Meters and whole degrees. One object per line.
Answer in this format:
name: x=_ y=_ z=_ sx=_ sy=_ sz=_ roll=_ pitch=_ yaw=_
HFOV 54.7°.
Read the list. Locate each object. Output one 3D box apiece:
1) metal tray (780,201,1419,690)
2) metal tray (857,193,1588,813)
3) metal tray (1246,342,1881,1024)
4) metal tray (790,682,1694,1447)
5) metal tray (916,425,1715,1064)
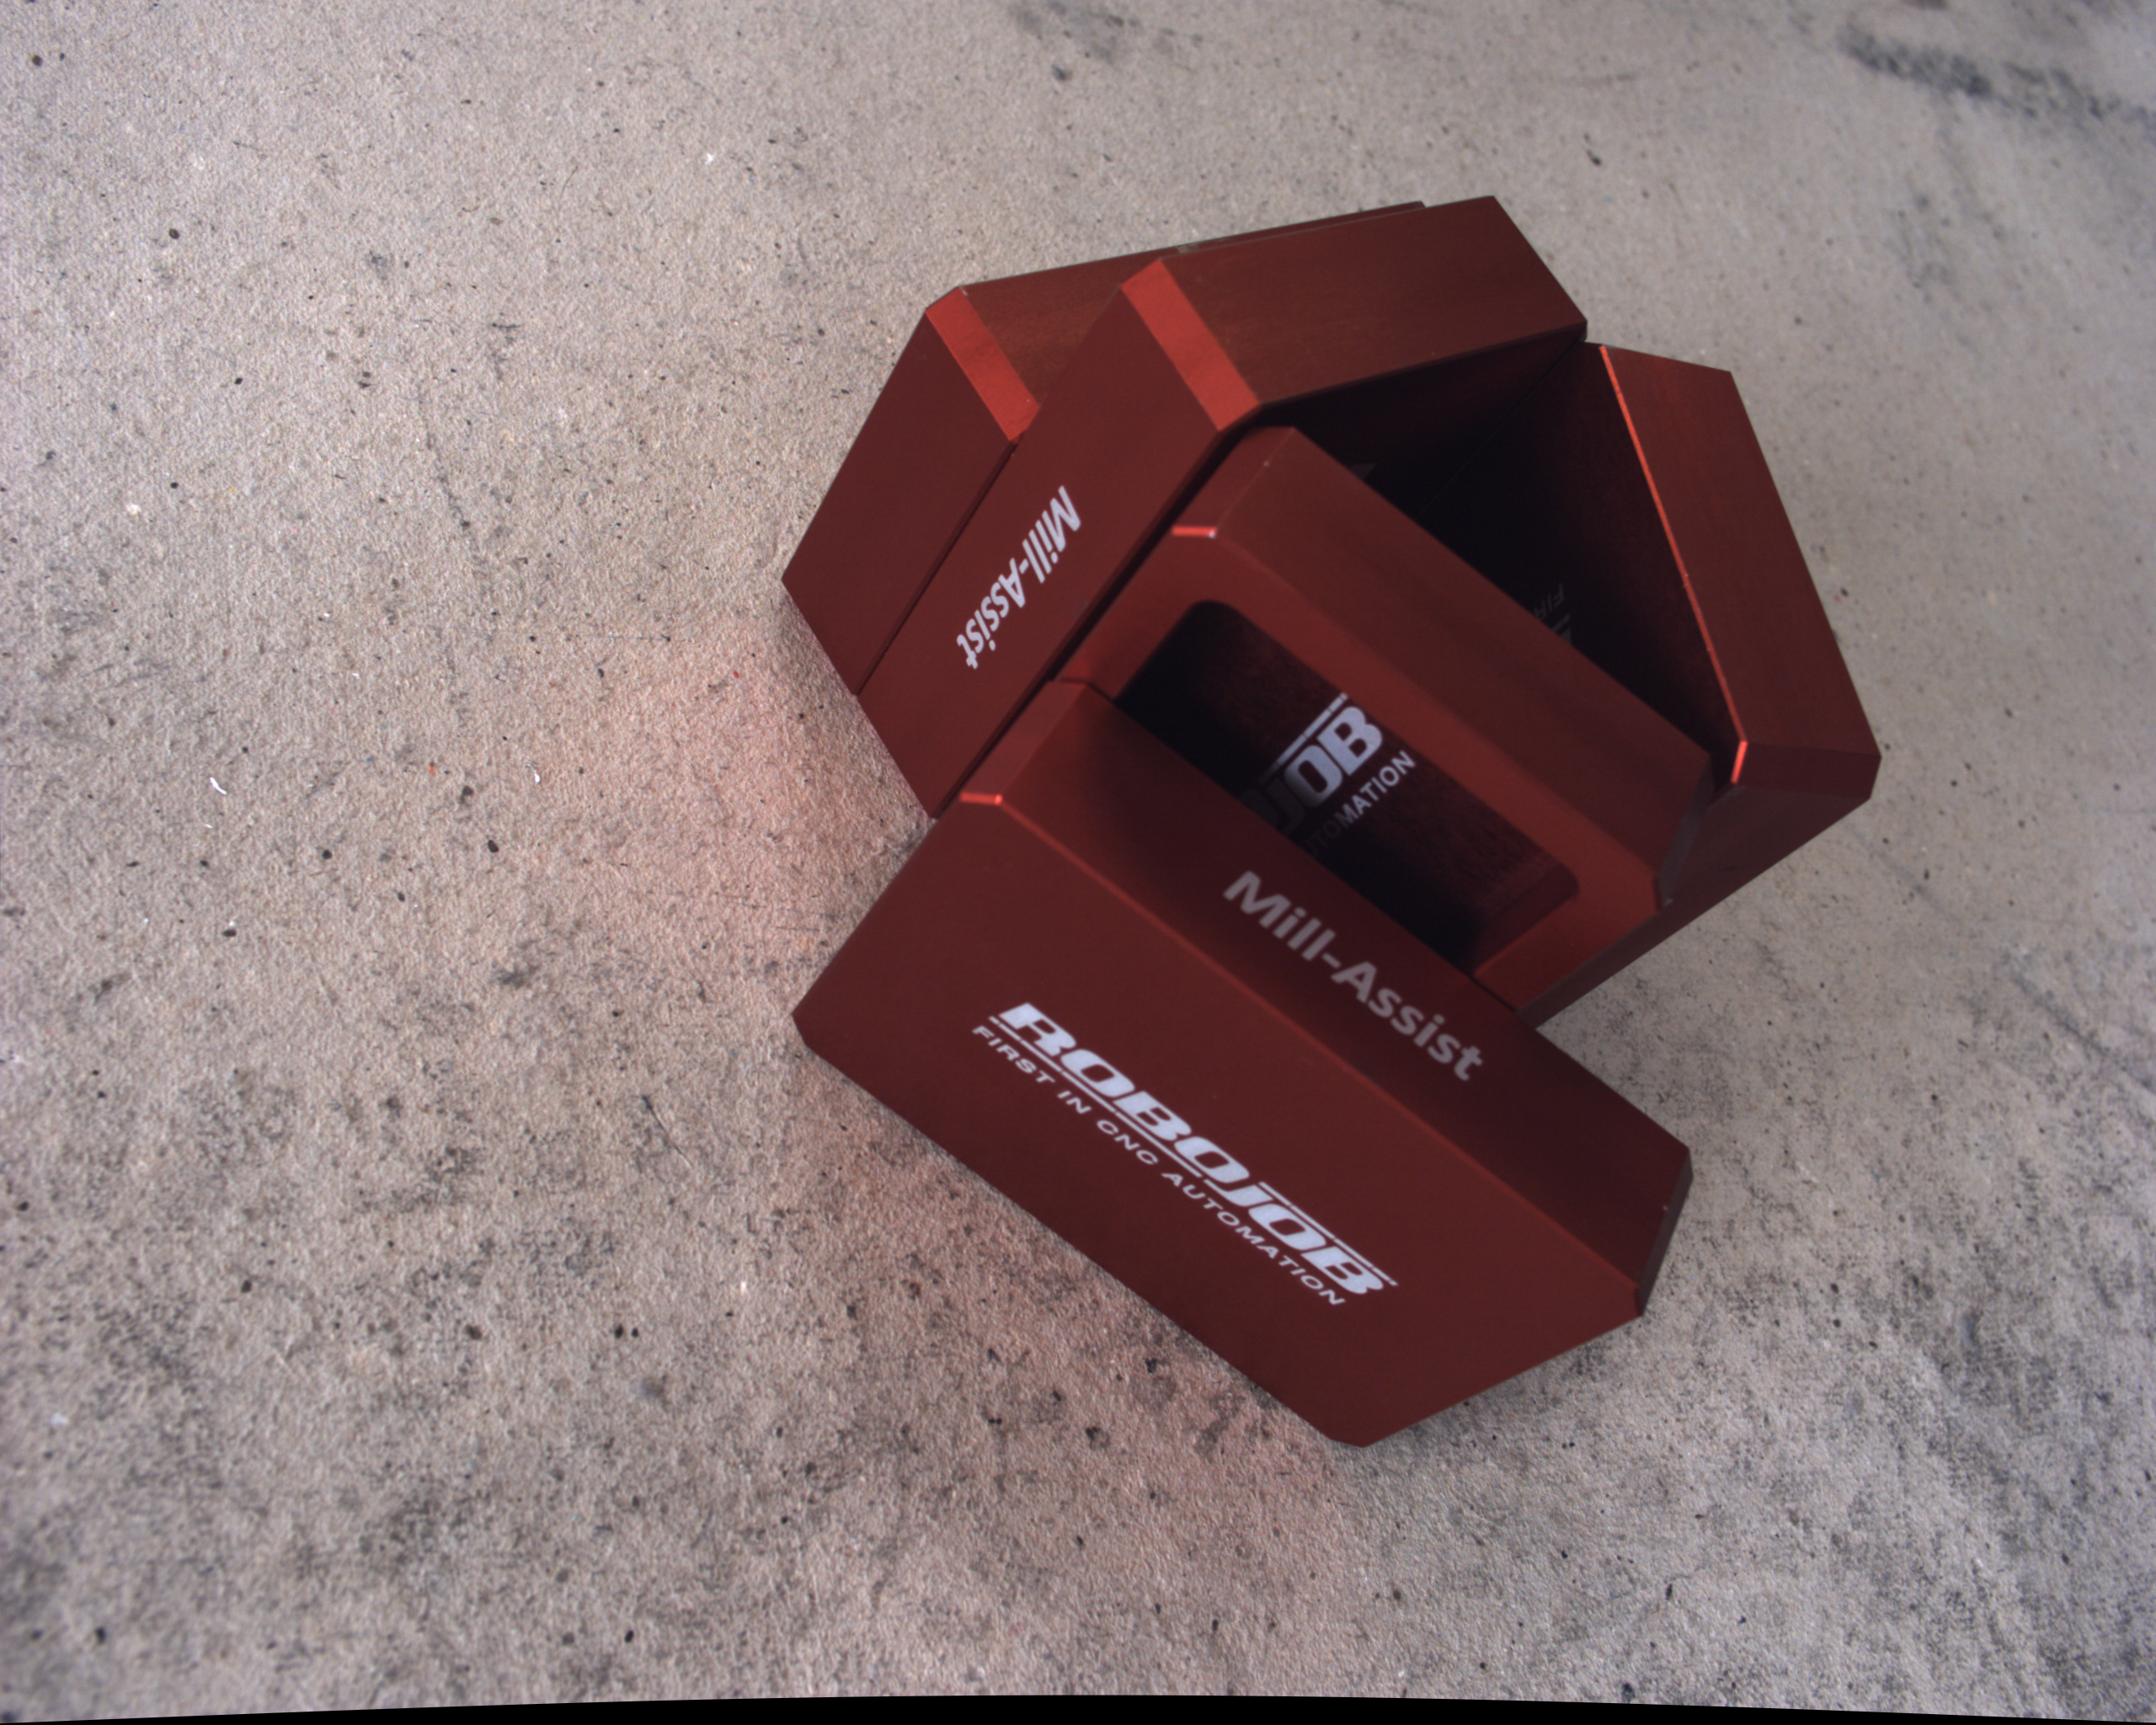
metal tray: x=0.014 y=-0.084 z=0.421 sx=0.131 sy=0.090 sz=0.030 roll=-22 pitch=74 yaw=-36
metal tray: x=0.023 y=-0.063 z=0.388 sx=0.091 sy=0.129 sz=0.030 roll=-22 pitch=75 yaw=-36
metal tray: x=0.082 y=-0.022 z=0.395 sx=0.030 sy=0.129 sz=0.090 roll=5 pitch=60 yaw=-26
metal tray: x=0.024 y=0.039 z=0.351 sx=0.130 sy=0.090 sz=0.030 roll=38 pitch=51 yaw=-3
metal tray: x=0.031 y=-0.002 z=0.355 sx=0.090 sy=0.129 sz=0.030 roll=37 pitch=51 yaw=-4
